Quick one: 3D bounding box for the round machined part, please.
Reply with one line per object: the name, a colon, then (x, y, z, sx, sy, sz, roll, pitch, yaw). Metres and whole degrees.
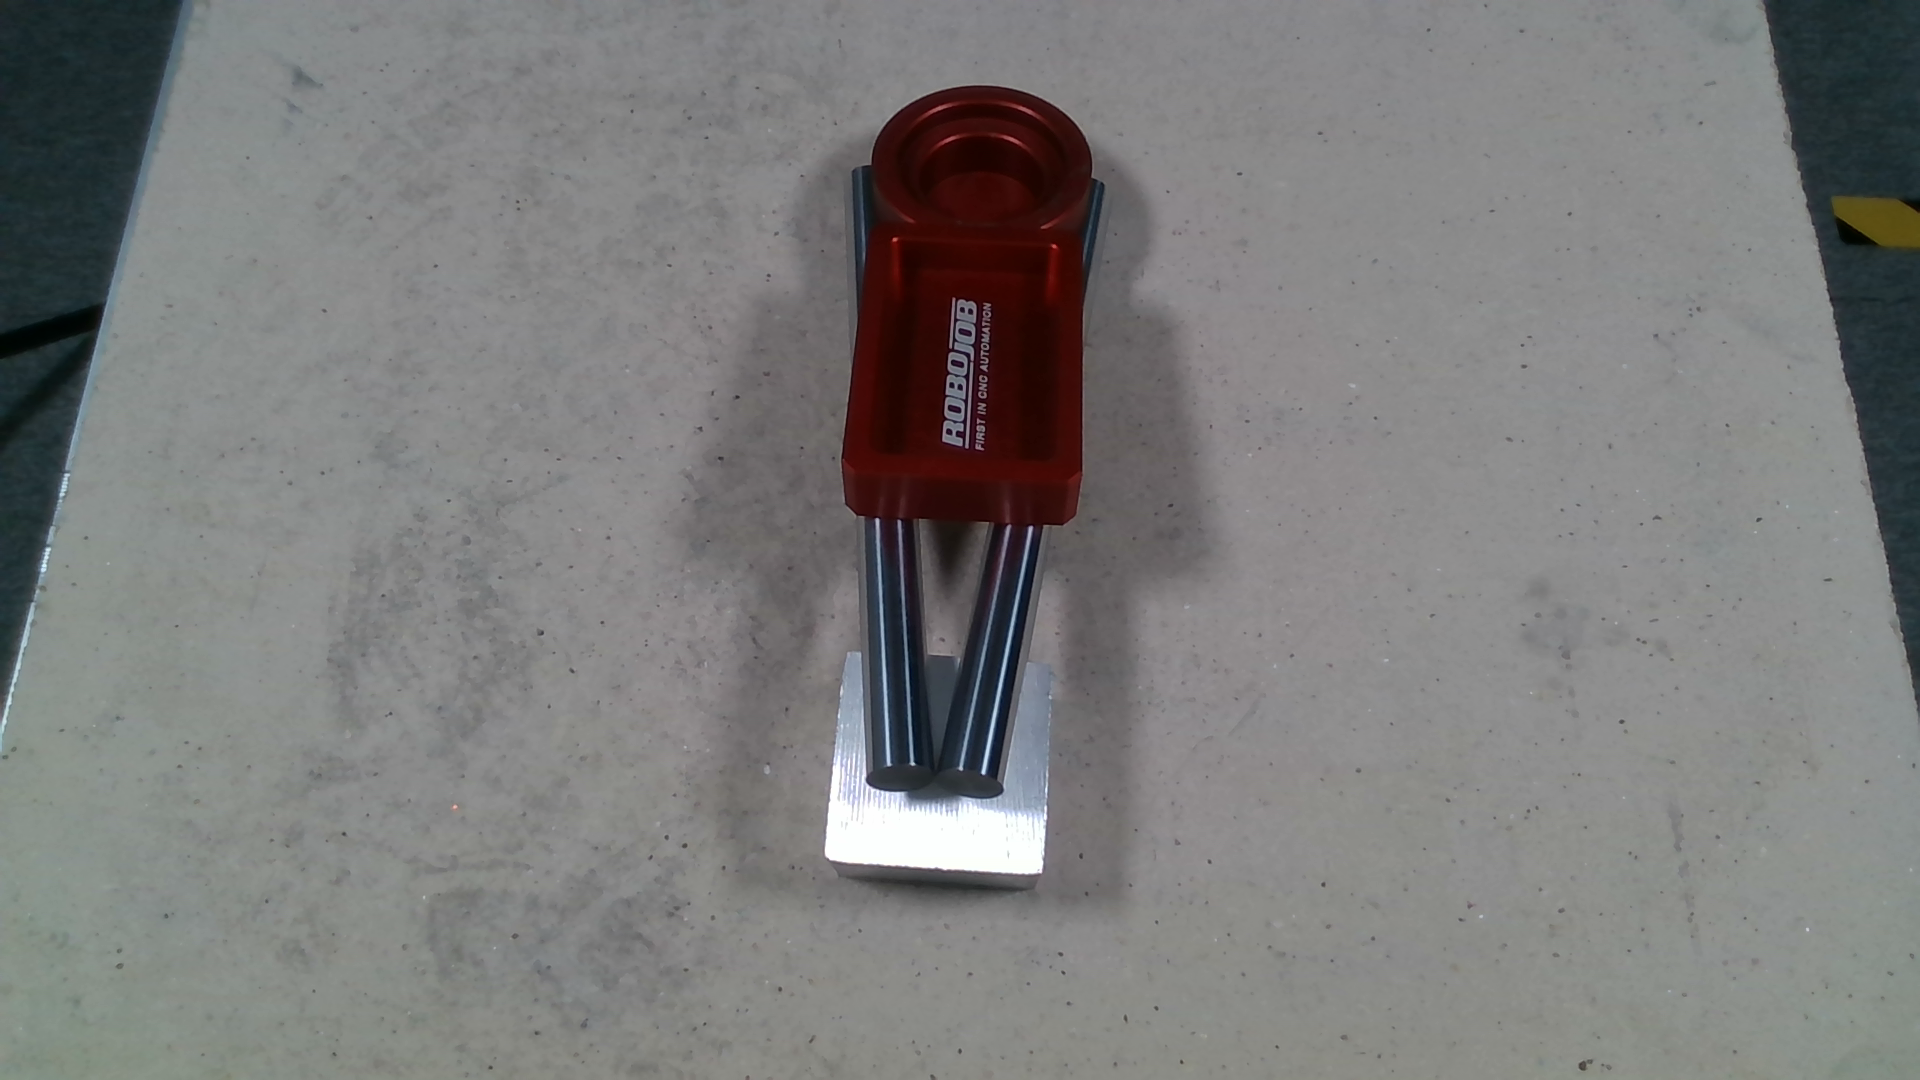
round machined part: (0.010, -0.158, 0.630, 0.098, 0.042, 0.098, 0, 60, 0)

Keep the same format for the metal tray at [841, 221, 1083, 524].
metal tray: (0.003, -0.070, 0.556, 0.090, 0.030, 0.130, 3, 58, 1)

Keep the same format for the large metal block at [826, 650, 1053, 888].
large metal block: (-0.007, 0.091, 0.541, 0.080, 0.050, 0.080, 3, 70, 1)

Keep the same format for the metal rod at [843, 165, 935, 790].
metal rod: (-0.033, -0.042, 0.569, 0.025, 0.025, 0.299, -4, 58, -1)

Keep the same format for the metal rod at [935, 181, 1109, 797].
metal rod: (0.031, -0.038, 0.567, 0.025, 0.025, 0.299, 10, 58, 4)
